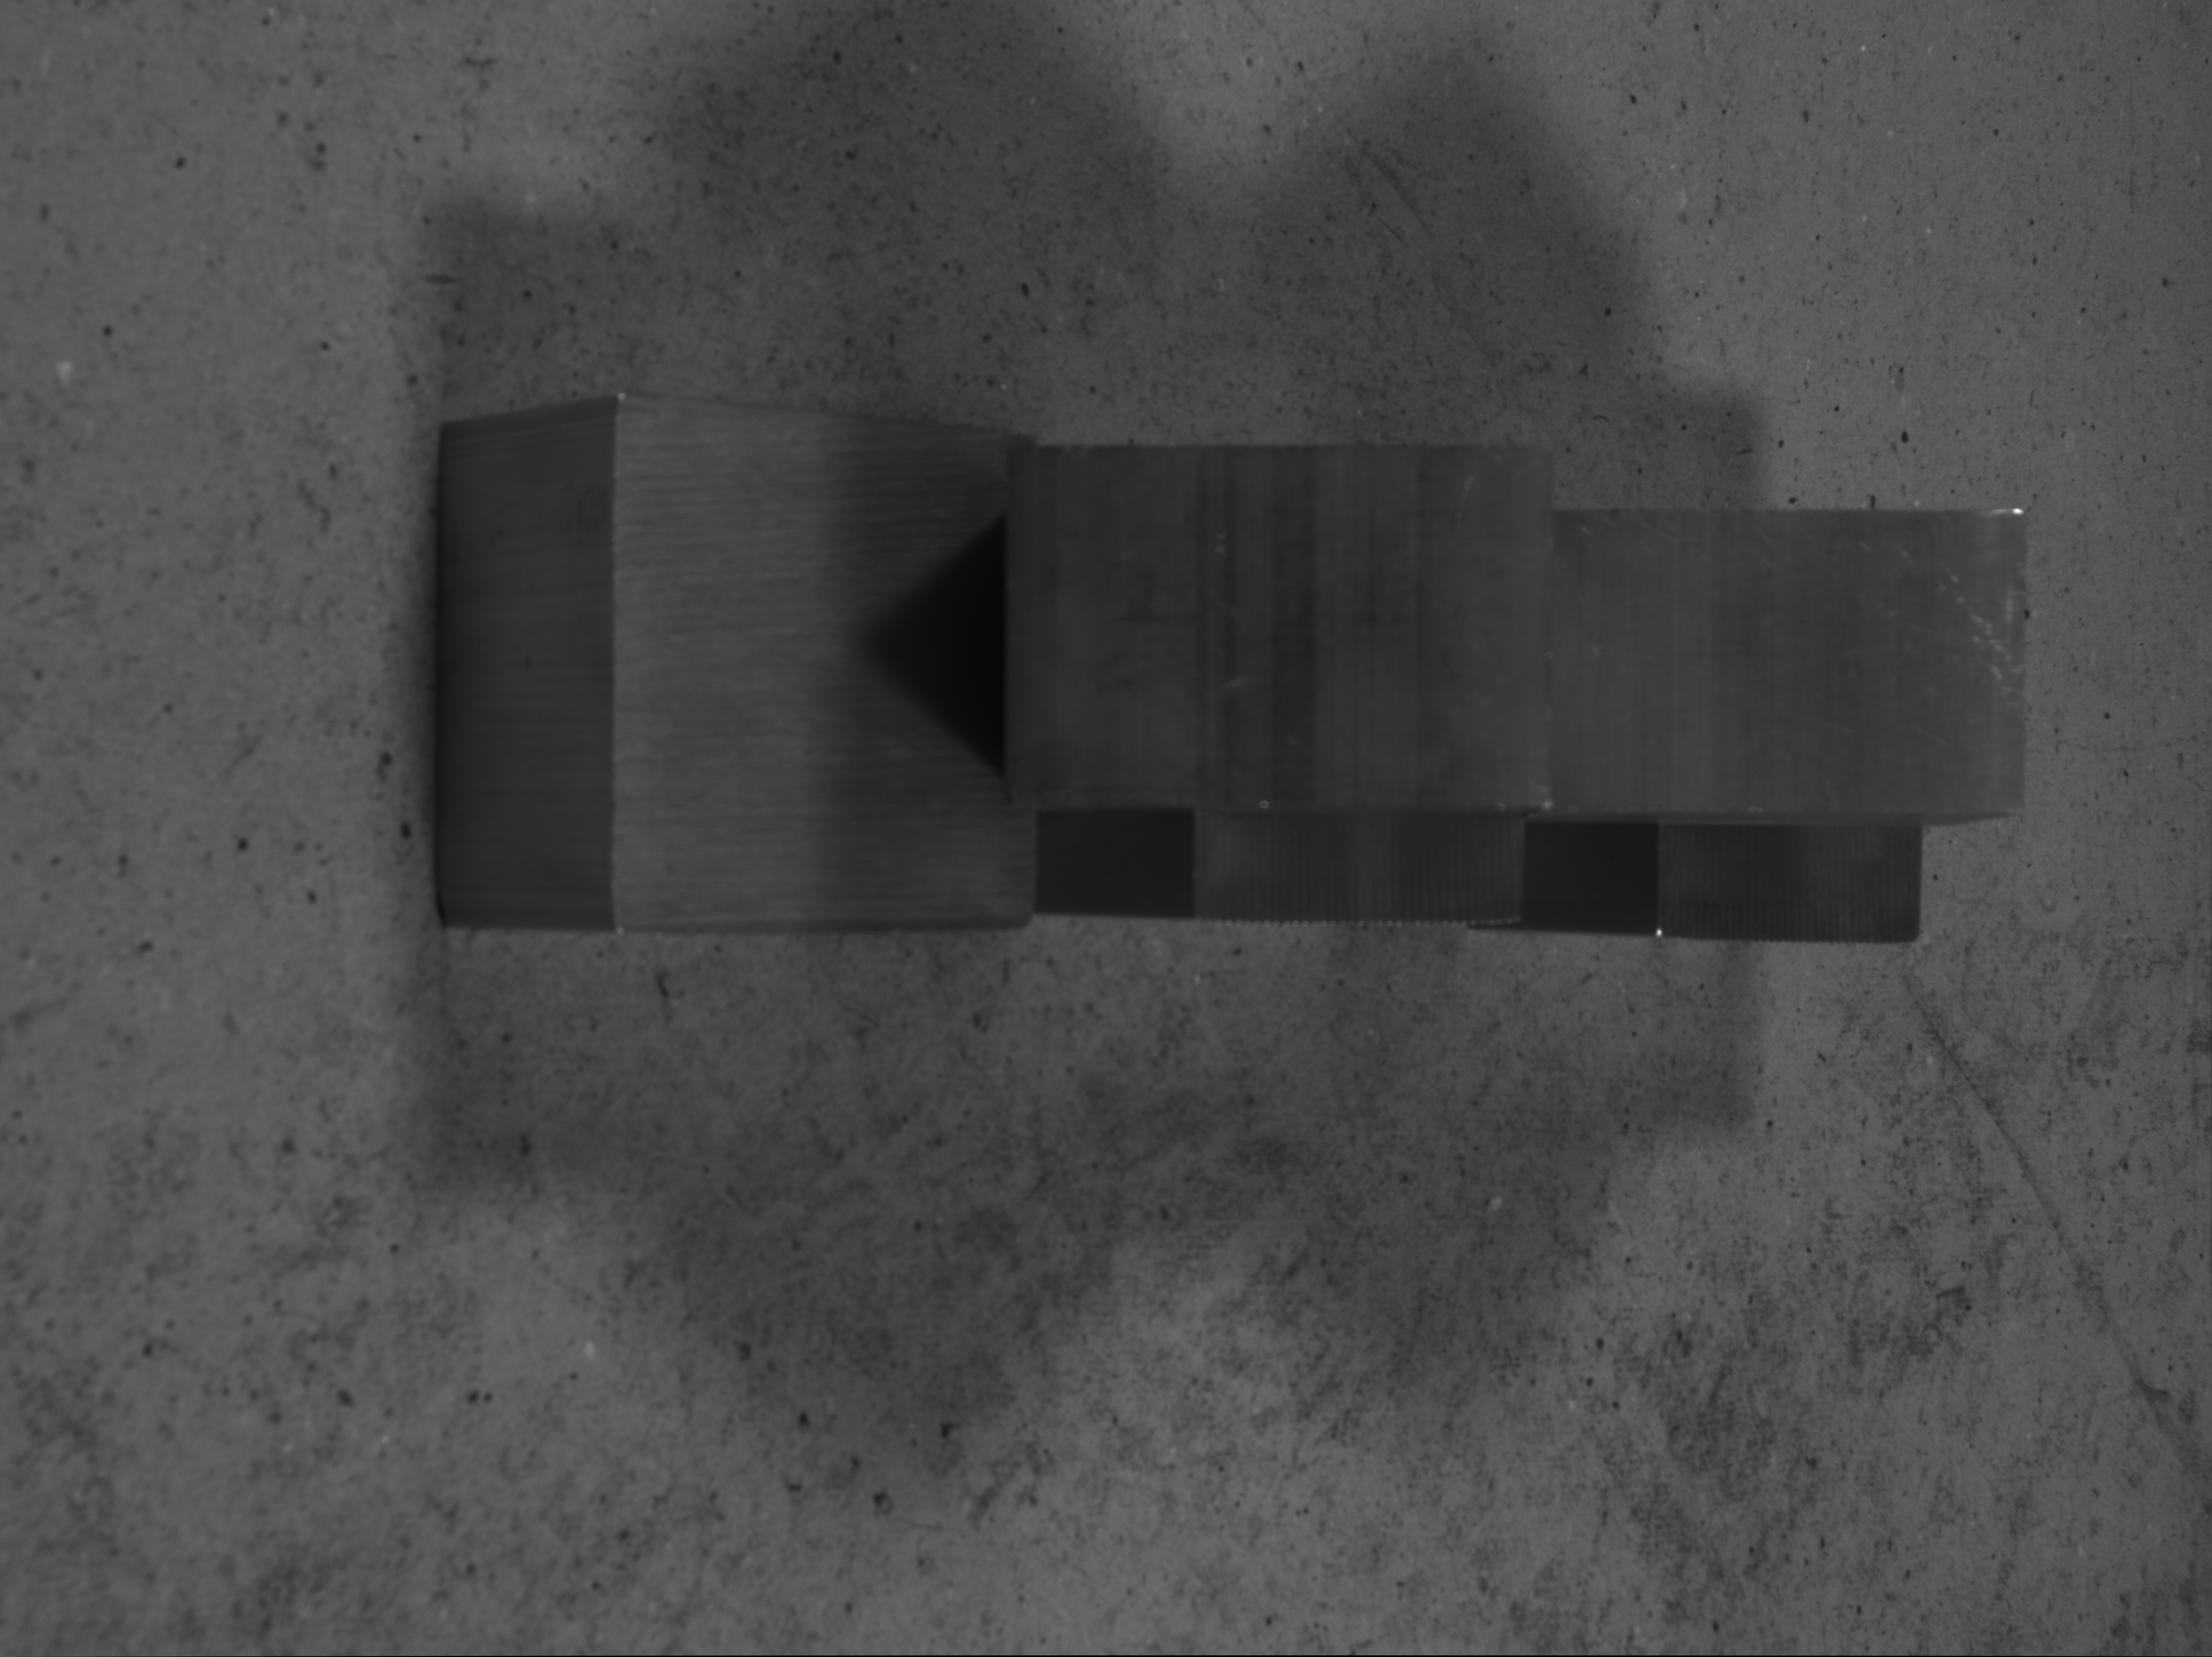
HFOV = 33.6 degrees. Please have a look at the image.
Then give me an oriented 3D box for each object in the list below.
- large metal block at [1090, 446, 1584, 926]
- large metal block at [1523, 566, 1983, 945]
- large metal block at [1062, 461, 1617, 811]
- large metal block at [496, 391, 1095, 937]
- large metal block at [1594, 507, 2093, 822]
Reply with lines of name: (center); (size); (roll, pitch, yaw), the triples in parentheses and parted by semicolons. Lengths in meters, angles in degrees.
large metal block: (0.040, -0.023, 0.655); (0.080, 0.050, 0.080); (1, 89, -40)
large metal block: (0.130, -0.018, 0.730); (0.080, 0.050, 0.080); (2, 89, -40)
large metal block: (0.037, -0.028, 0.568); (0.080, 0.080, 0.050); (-5, 95, -85)
large metal block: (-0.049, -0.024, 0.581); (0.080, 0.050, 0.080); (1, 90, -40)
large metal block: (0.126, -0.027, 0.644); (0.080, 0.080, 0.050); (1, 89, 5)
